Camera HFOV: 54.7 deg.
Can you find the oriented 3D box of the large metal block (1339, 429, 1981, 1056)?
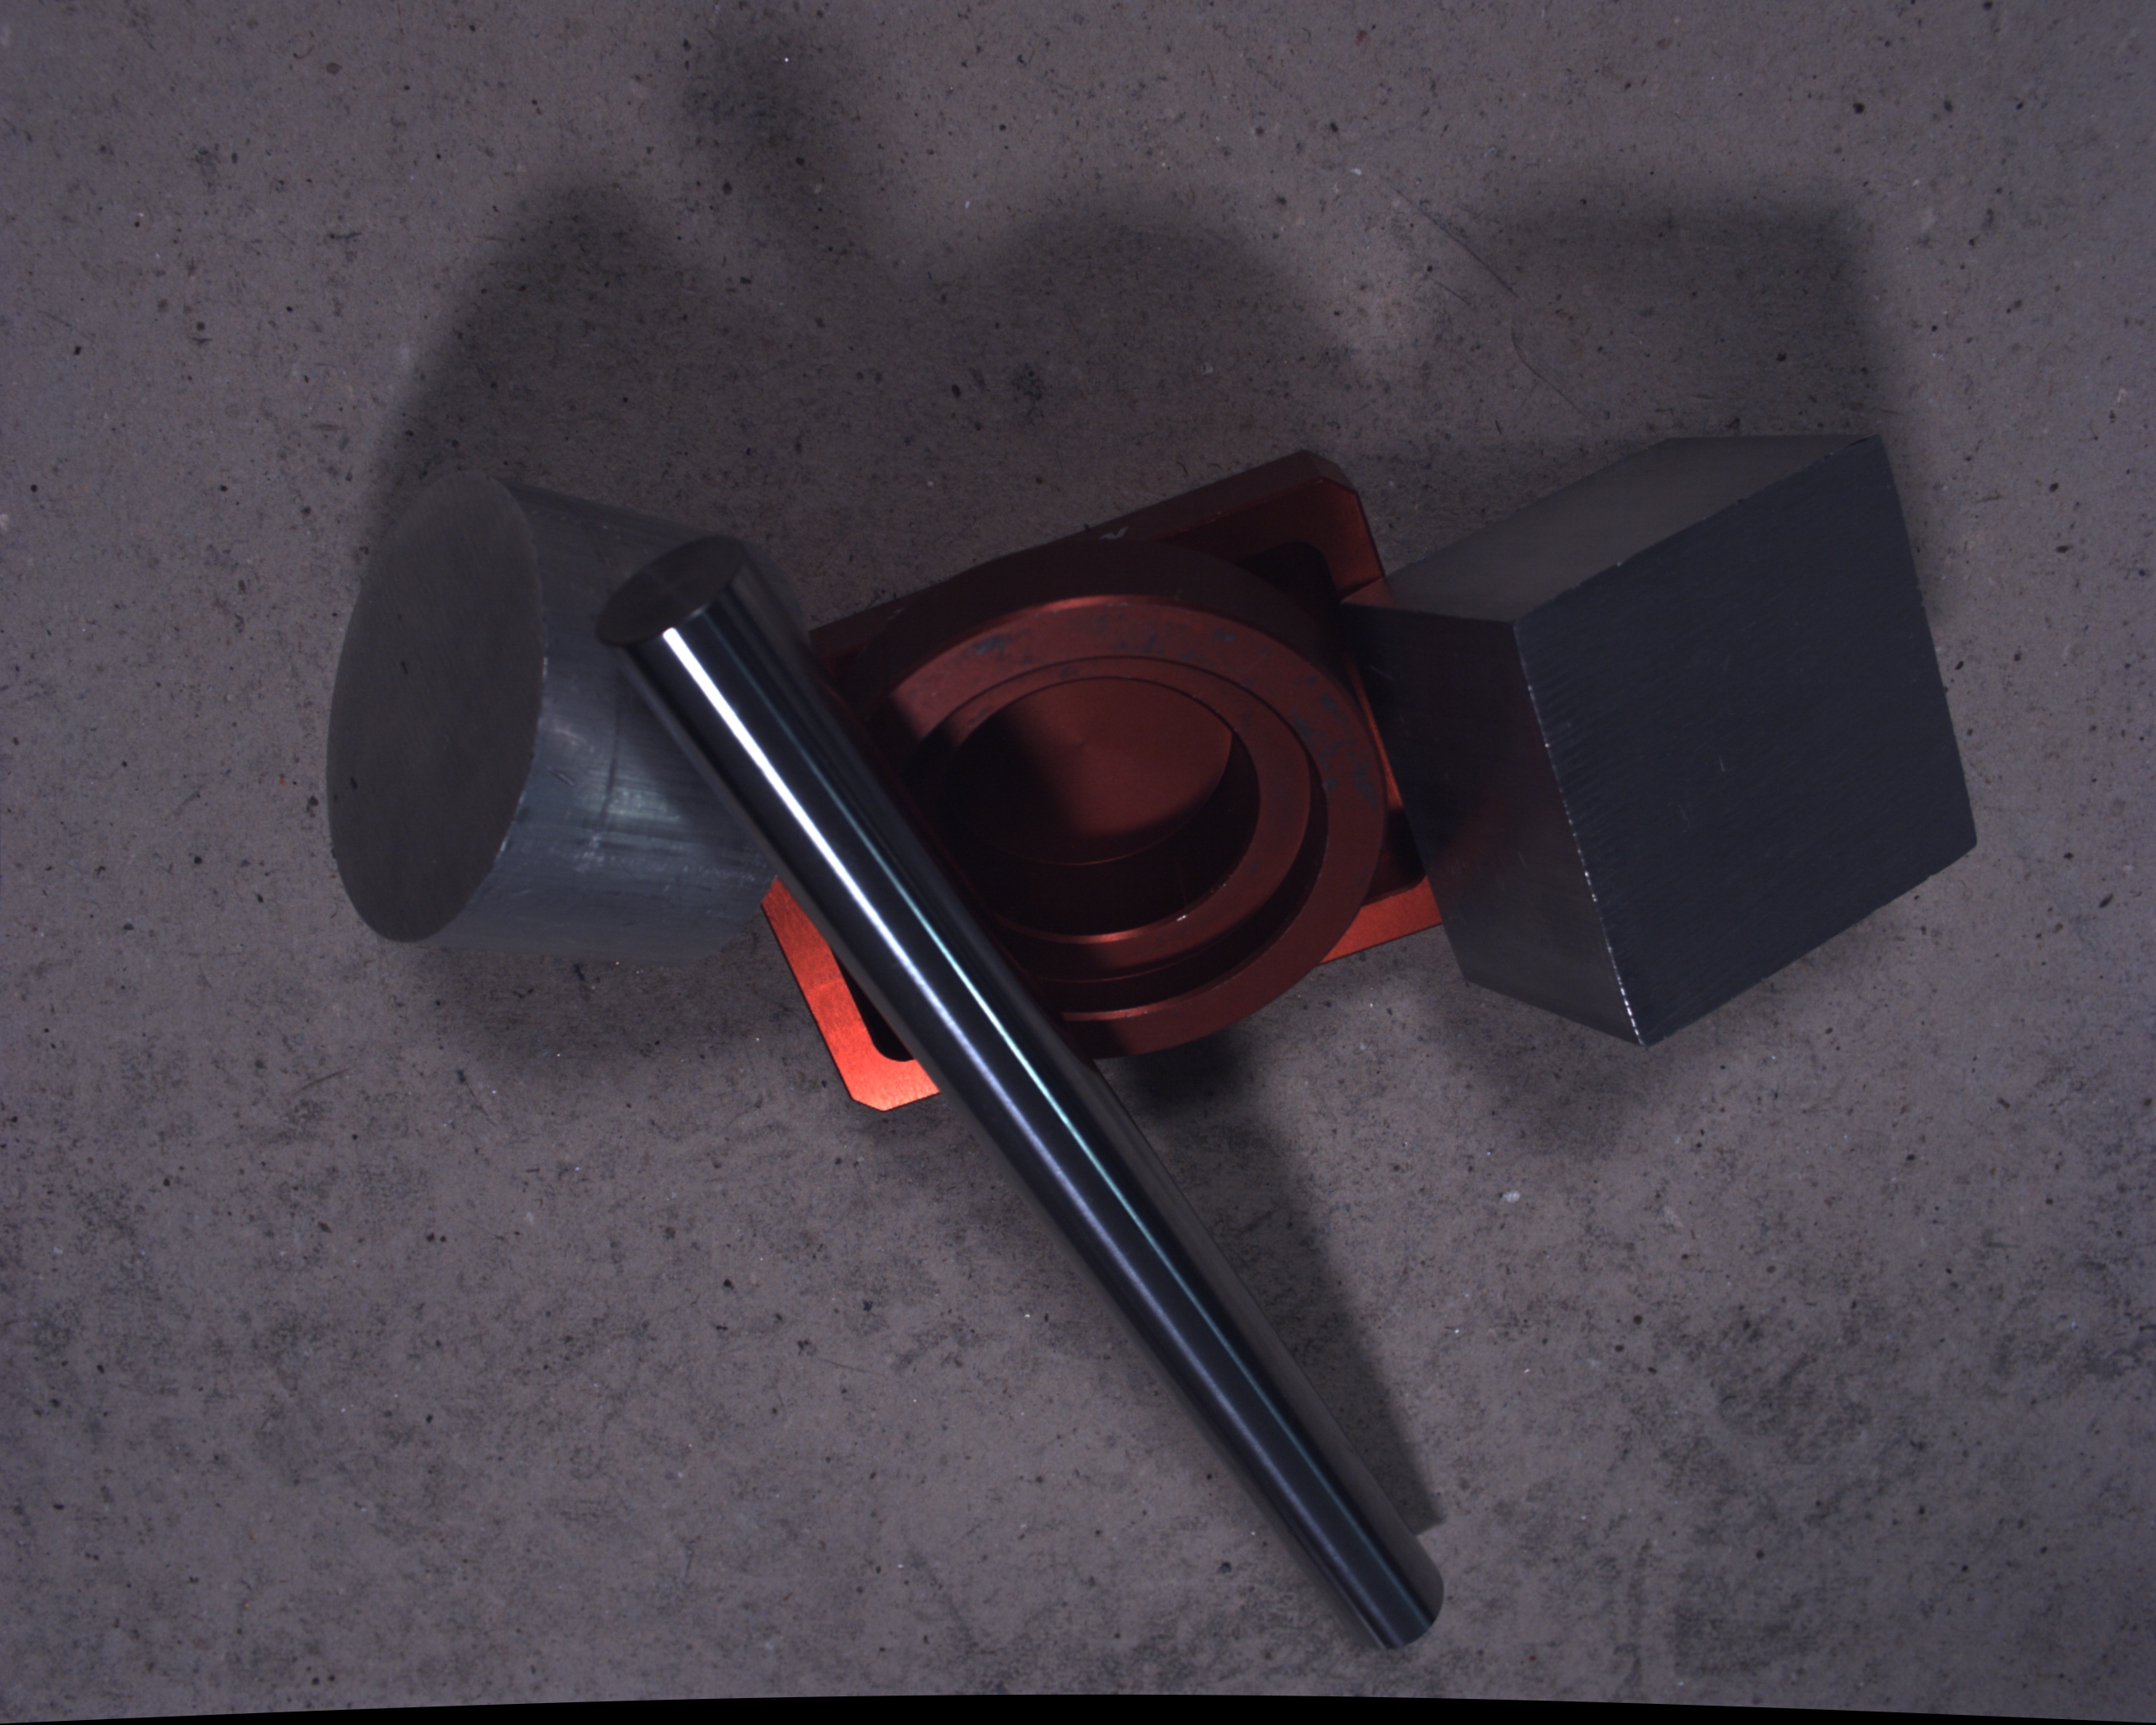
[{"bbox_3d":[0.104,-0.024,0.372,0.081,0.050,0.080,-28,110,-18],"label":"large metal block"}]

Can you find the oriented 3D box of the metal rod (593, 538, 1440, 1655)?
[{"bbox_3d":[0.005,0.065,0.388,0.025,0.025,0.299,-26,126,9],"label":"metal rod"}]

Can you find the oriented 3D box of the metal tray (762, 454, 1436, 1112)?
[{"bbox_3d":[0.002,-0.015,0.403,0.131,0.030,0.090,-19,109,6],"label":"metal tray"}]

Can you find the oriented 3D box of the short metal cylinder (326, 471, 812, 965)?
[{"bbox_3d":[-0.090,-0.023,0.365,0.050,0.080,0.079,8,115,-42],"label":"short metal cylinder"}]

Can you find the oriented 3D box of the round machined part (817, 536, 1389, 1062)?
[{"bbox_3d":[0.003,-0.014,0.371,0.099,0.042,0.097,-3,126,-4],"label":"round machined part"}]
